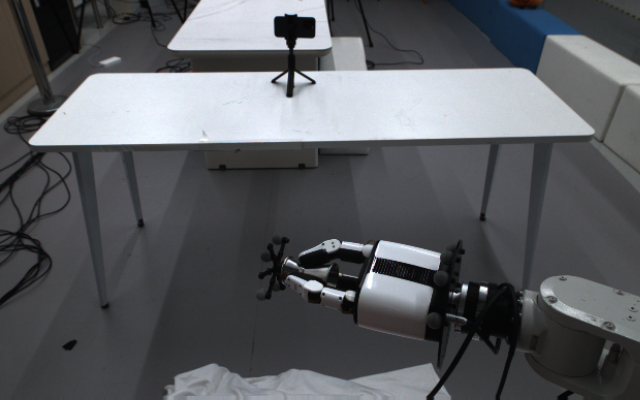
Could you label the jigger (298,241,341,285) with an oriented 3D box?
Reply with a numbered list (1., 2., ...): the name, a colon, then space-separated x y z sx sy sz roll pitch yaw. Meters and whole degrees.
1. jigger: -0.008 0.097 0.651 0.071 0.043 0.043 8 34 23
